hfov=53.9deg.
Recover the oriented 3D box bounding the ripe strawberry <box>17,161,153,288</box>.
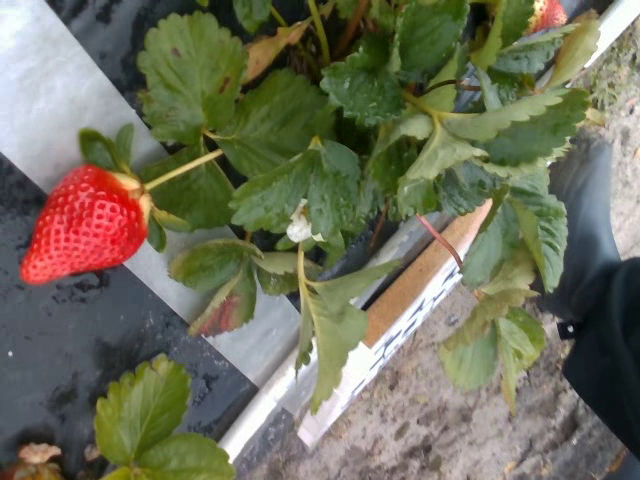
[{"bbox_3d":[-0.087,-0.003,0.222,0.051,0.038,0.041,-43,-13,-26],"label":"ripe strawberry"}]
